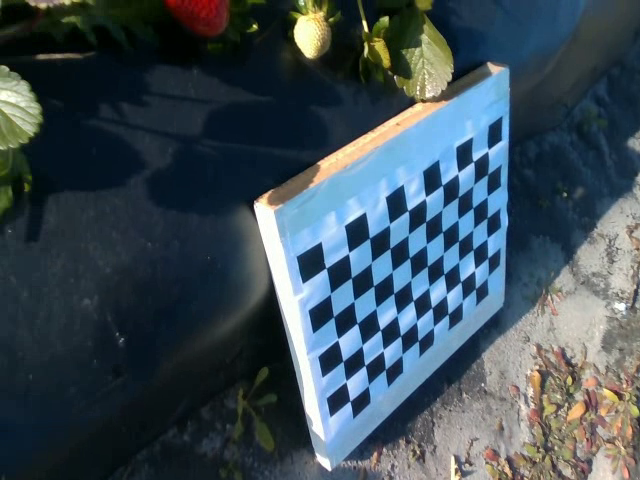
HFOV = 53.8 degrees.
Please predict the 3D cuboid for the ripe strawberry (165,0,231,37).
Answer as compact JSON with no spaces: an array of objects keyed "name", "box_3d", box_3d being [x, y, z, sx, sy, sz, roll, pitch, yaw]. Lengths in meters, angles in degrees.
[{"name":"ripe strawberry","box_3d":[-0.065,-0.123,0.327,0.036,0.044,0.053,21,17,33]}]
